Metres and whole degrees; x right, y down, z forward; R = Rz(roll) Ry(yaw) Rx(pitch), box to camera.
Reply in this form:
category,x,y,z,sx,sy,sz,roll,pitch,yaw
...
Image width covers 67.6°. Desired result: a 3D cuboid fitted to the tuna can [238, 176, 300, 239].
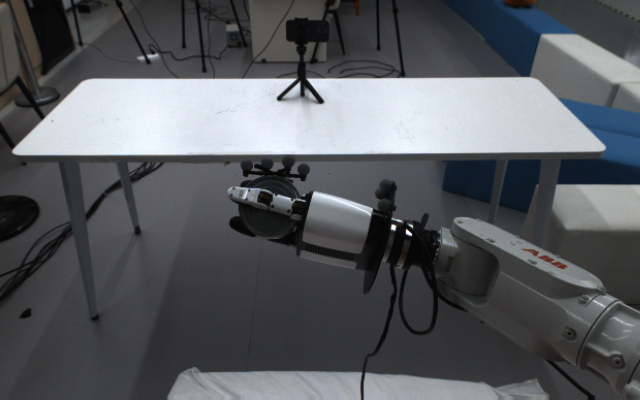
category,x,y,z,sx,sy,sz,roll,pitch,yaw
tuna can,-0.066,0.011,0.666,0.085,0.034,0.085,0,77,-1
